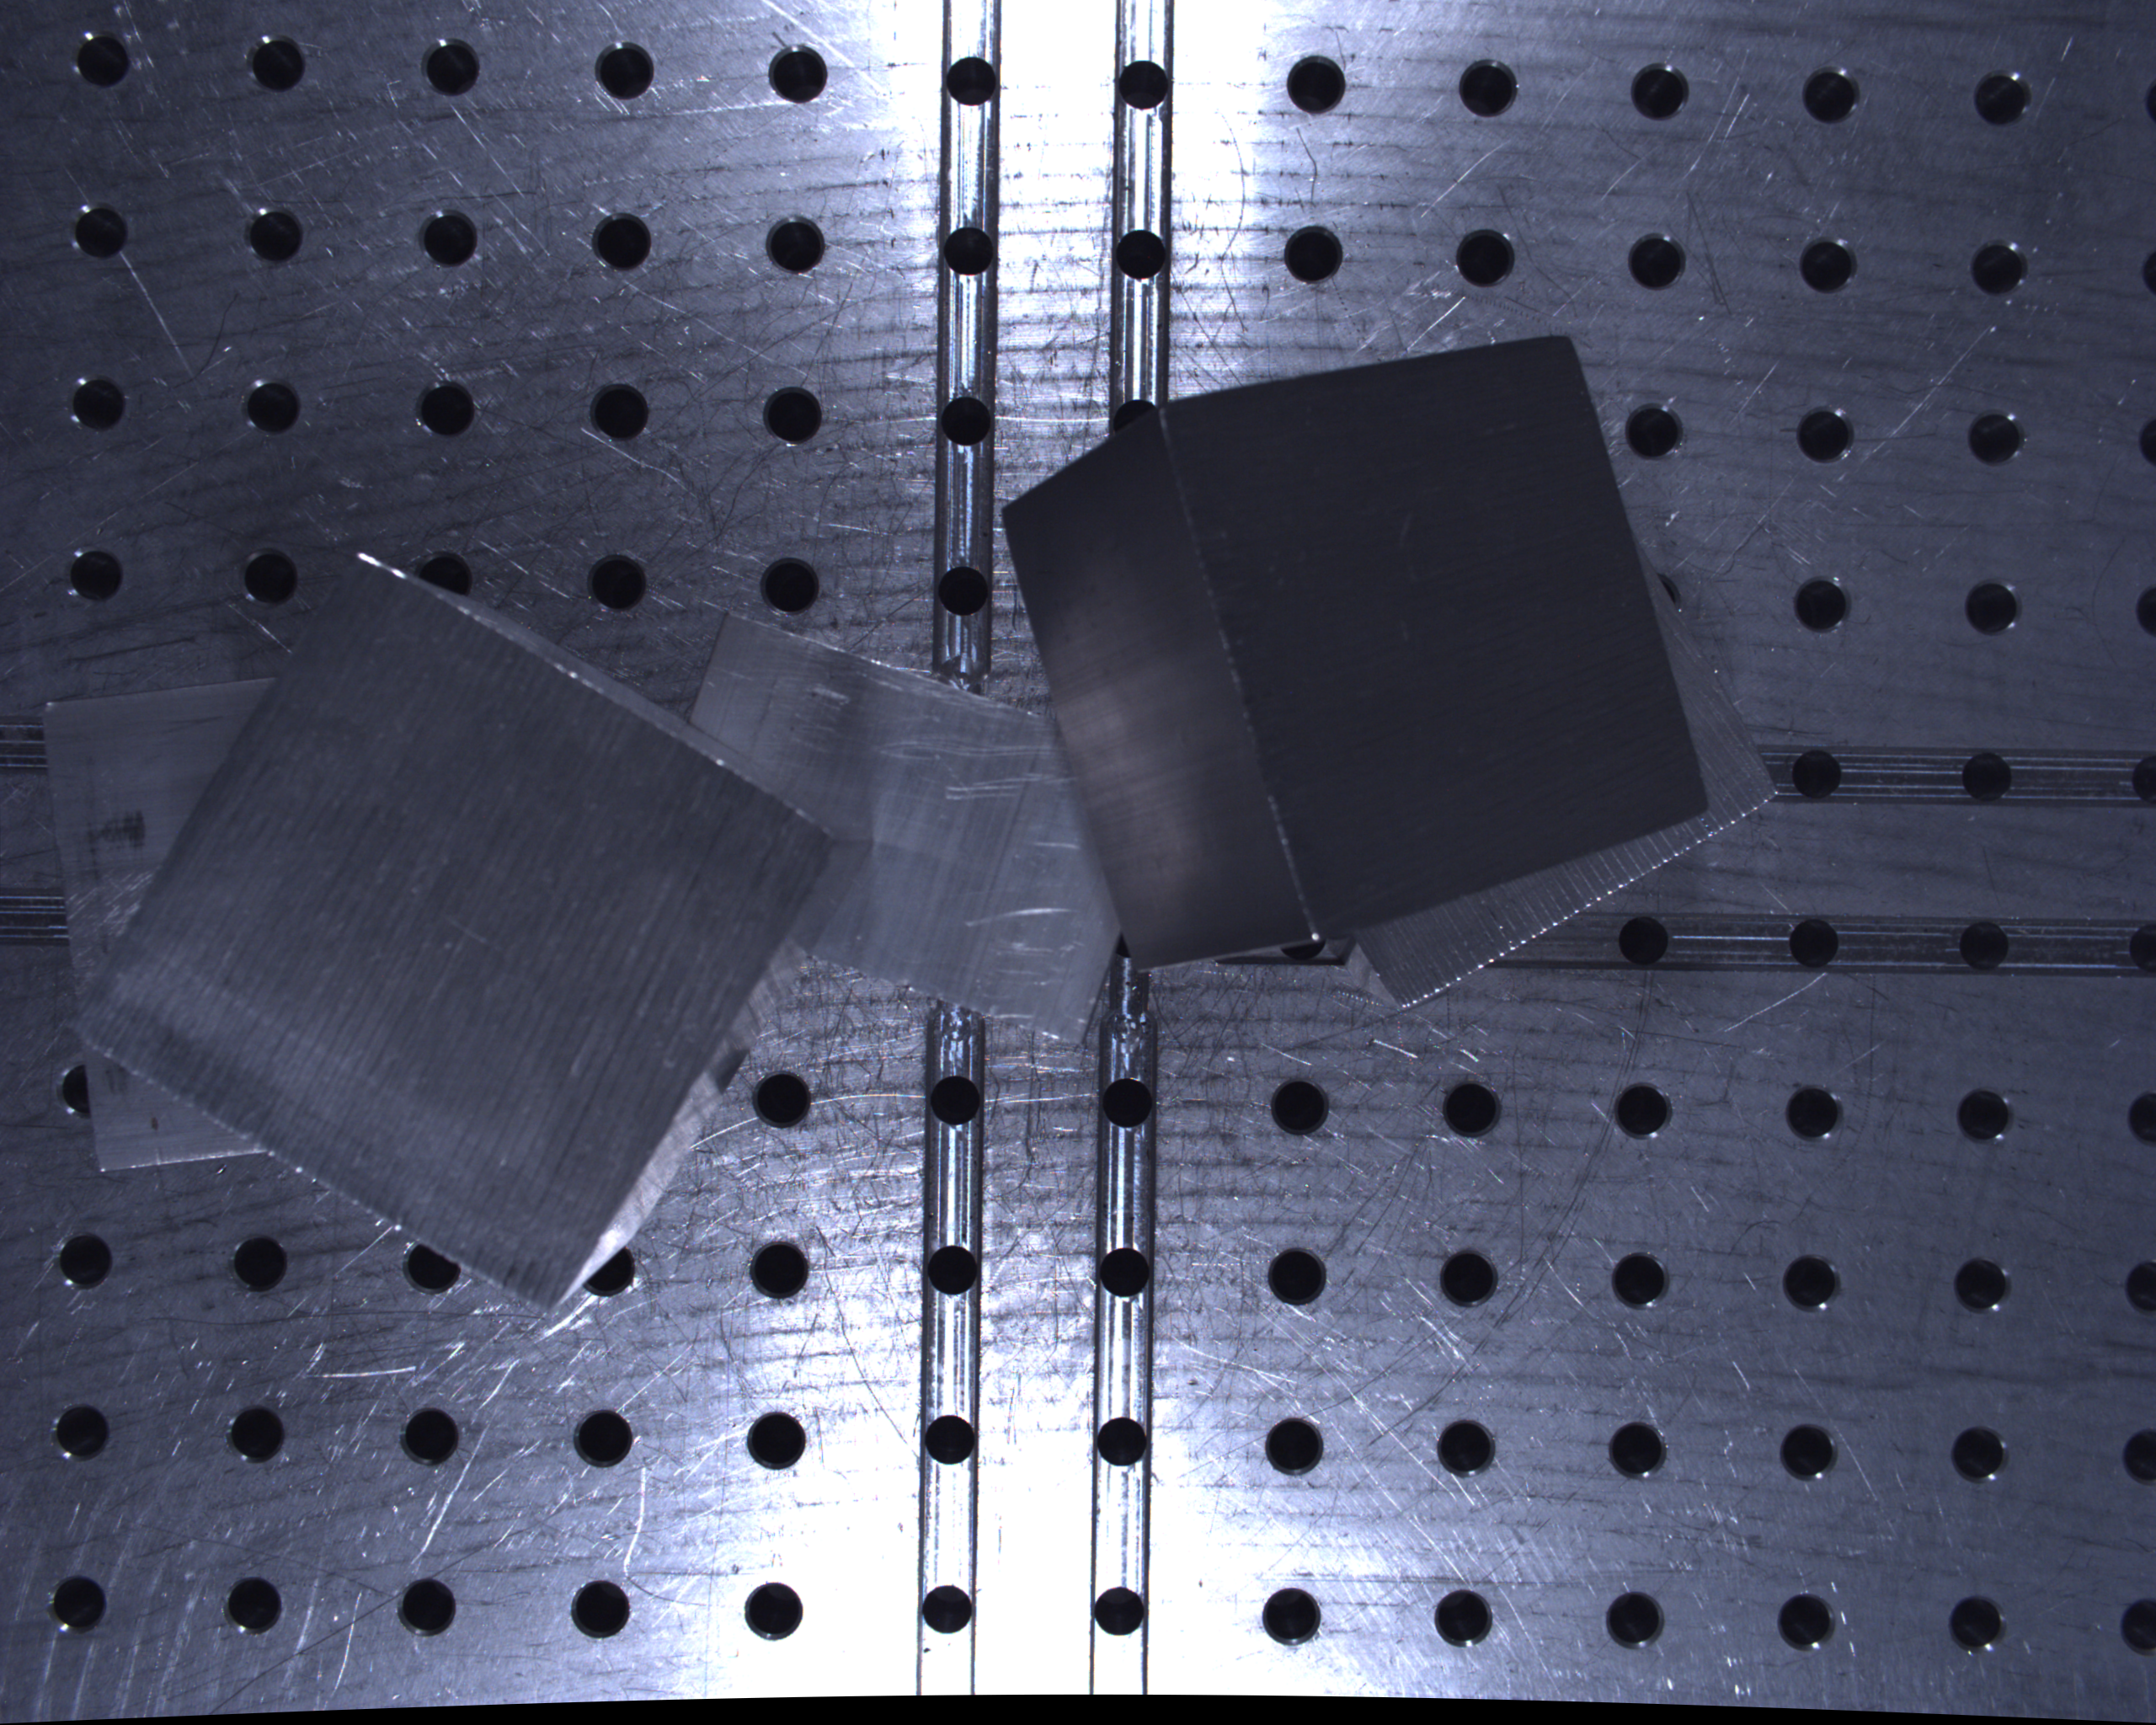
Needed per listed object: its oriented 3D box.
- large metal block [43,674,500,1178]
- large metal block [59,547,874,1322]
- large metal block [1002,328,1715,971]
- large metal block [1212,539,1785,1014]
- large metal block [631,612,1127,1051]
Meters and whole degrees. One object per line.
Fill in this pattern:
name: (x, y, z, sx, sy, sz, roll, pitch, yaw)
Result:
large metal block: (-0.141, 0.009, 0.384, 0.050, 0.080, 0.079, -6, 90, 0)
large metal block: (-0.088, 0.010, 0.319, 0.080, 0.050, 0.080, 31, 90, 0)
large metal block: (0.045, -0.034, 0.333, 0.081, 0.050, 0.080, -16, 91, -29)
large metal block: (0.073, -0.027, 0.402, 0.080, 0.050, 0.080, -30, 90, 0)
large metal block: (-0.029, -0.005, 0.385, 0.080, 0.080, 0.050, 19, 90, -1)
